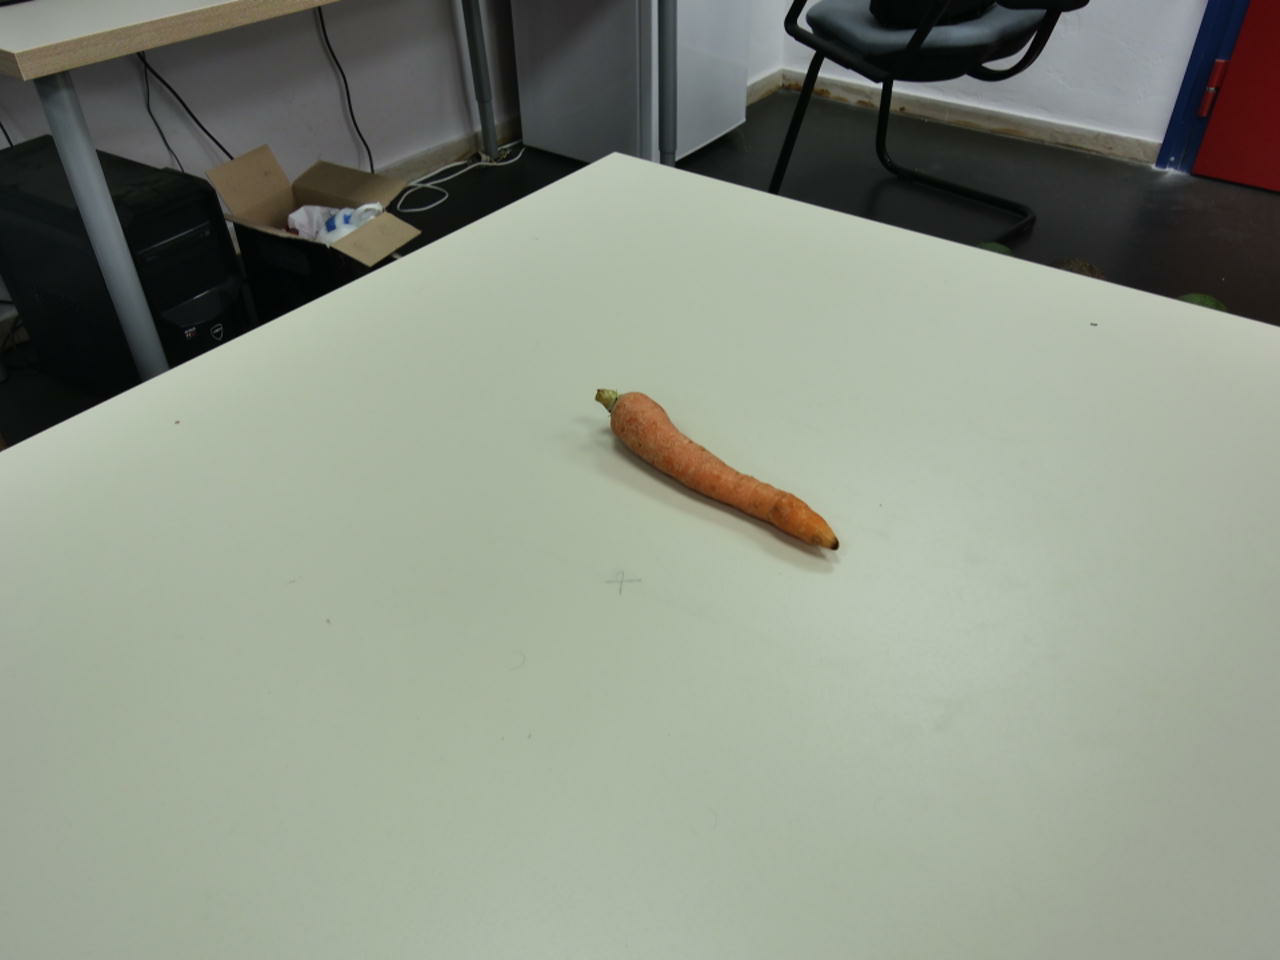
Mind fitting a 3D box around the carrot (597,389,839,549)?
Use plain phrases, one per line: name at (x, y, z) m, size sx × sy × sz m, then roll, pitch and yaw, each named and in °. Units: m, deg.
carrot at (0.037, -0.008, 0.543) m, size 0.030 × 0.032 × 0.173 m, roll -30°, pitch 46°, yaw -32°
